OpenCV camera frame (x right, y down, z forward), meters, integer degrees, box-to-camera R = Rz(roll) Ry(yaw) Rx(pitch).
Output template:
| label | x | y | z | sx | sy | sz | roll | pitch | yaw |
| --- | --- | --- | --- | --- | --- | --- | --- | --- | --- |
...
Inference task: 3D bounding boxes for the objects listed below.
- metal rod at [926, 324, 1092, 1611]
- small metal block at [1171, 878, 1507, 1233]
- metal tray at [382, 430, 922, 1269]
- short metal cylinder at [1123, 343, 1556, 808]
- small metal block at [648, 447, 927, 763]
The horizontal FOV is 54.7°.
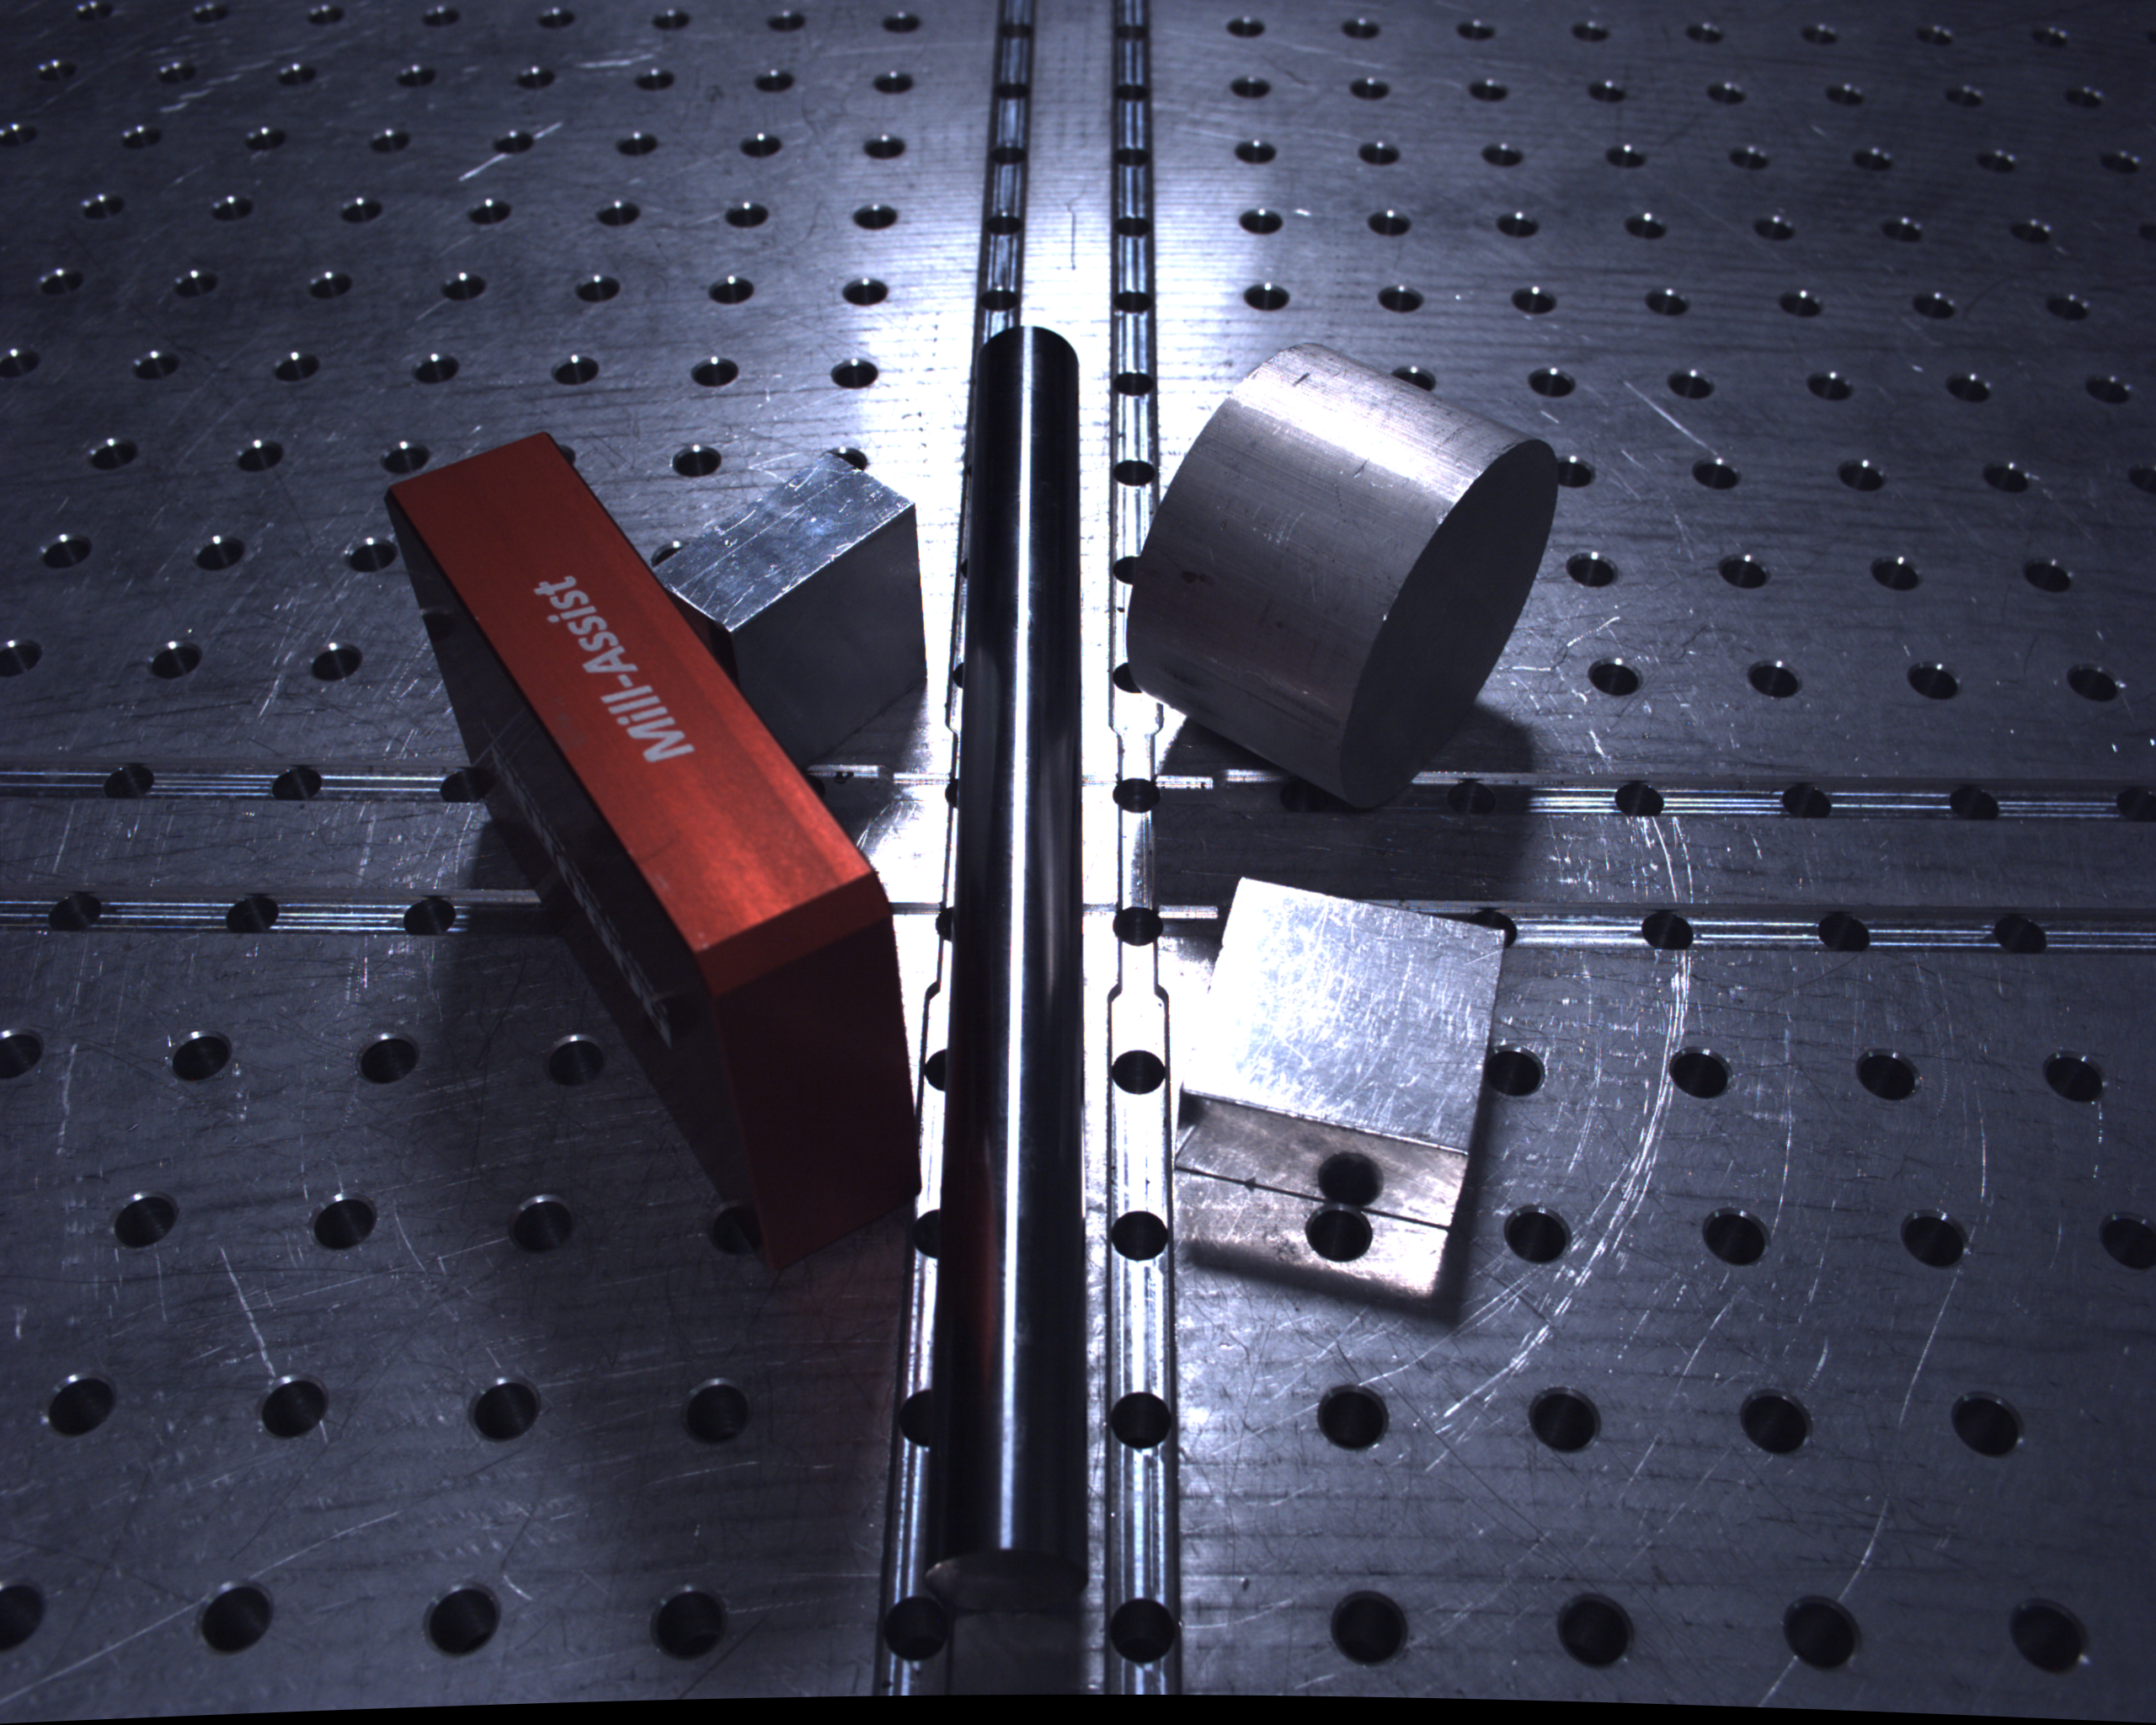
| label | x | y | z | sx | sy | sz | roll | pitch | yaw |
| --- | --- | --- | --- | --- | --- | --- | --- | --- | --- |
| metal rod | -0.011 | -0.006 | 0.412 | 0.025 | 0.025 | 0.300 | 0 | 50 | -1 |
| small metal block | 0.048 | 0.034 | 0.380 | 0.050 | 0.025 | 0.050 | 12 | 51 | 9 |
| metal tray | -0.075 | -0.003 | 0.366 | 0.030 | 0.089 | 0.130 | -26 | 55 | -20 |
| short metal cylinder | 0.053 | -0.058 | 0.421 | 0.050 | 0.080 | 0.080 | 31 | 56 | 23 |
| small metal block | -0.059 | -0.049 | 0.431 | 0.025 | 0.050 | 0.050 | 34 | 58 | 25 |
